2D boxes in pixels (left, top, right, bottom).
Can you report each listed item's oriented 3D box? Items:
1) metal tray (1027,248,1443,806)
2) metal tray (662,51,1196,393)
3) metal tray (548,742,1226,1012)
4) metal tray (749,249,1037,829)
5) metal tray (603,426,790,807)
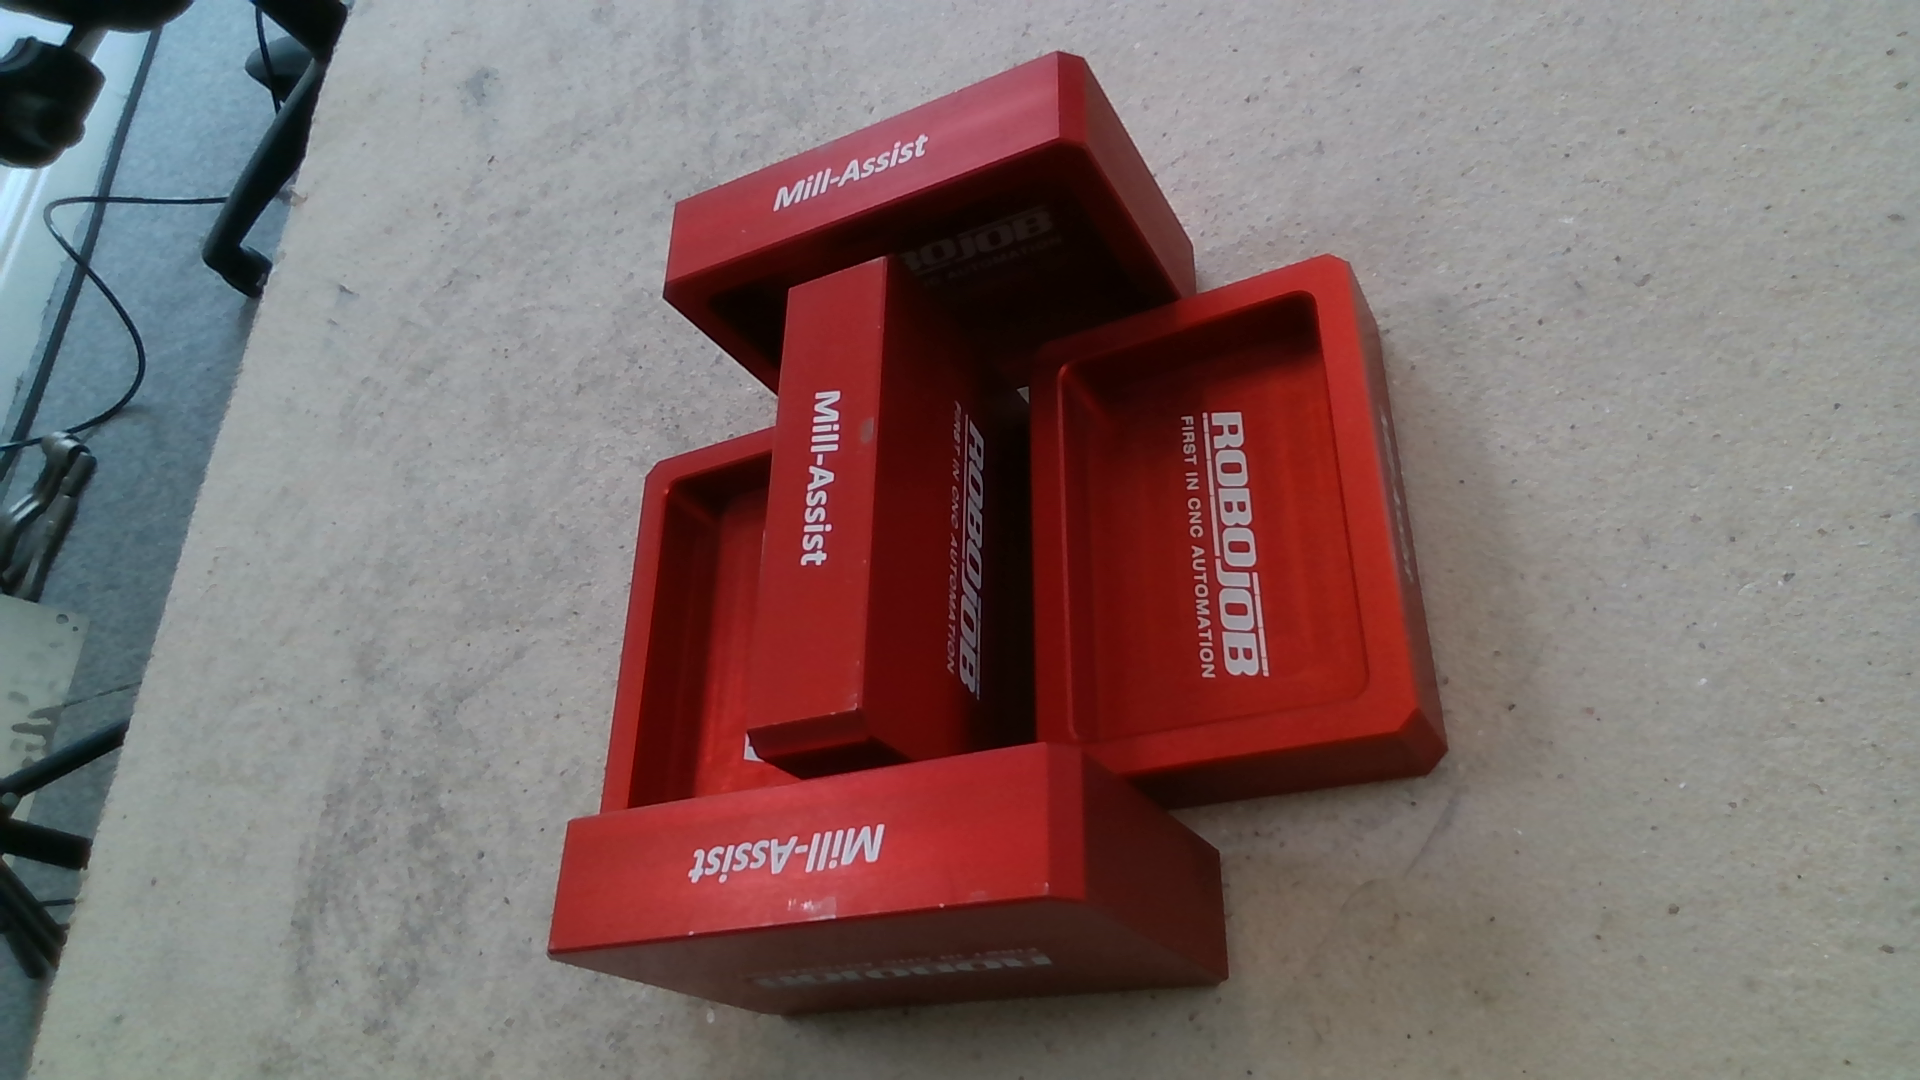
[{"bbox_3d":[0.064,-0.002,0.351,0.090,0.030,0.130,-16,58,28],"label":"metal tray"},{"bbox_3d":[-0.008,-0.078,0.397,0.130,0.090,0.030,-14,59,26],"label":"metal tray"},{"bbox_3d":[-0.015,0.083,0.317,0.130,0.090,0.030,-13,59,25],"label":"metal tray"},{"bbox_3d":[-0.011,0.003,0.358,0.030,0.090,0.130,-14,59,27],"label":"metal tray"},{"bbox_3d":[-0.056,0.029,0.411,0.090,0.030,0.130,-13,59,24],"label":"metal tray"}]
